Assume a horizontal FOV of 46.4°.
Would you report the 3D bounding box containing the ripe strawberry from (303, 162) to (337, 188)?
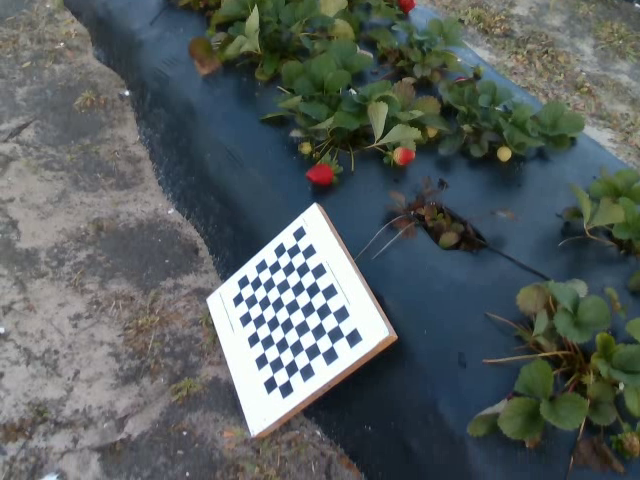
[{"bbox_3d":[0.000,-0.117,1.226,0.045,0.042,0.054,-7,-1,42],"label":"ripe strawberry"}]
